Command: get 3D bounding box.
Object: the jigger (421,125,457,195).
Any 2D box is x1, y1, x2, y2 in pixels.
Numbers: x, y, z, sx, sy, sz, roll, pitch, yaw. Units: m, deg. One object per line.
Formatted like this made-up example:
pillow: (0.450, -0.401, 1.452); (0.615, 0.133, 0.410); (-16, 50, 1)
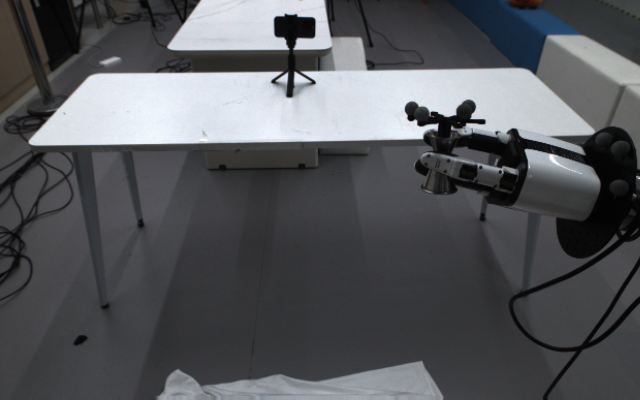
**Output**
jigger: (0.142, -0.047, 0.582); (0.043, 0.071, 0.043); (0, 21, 0)
